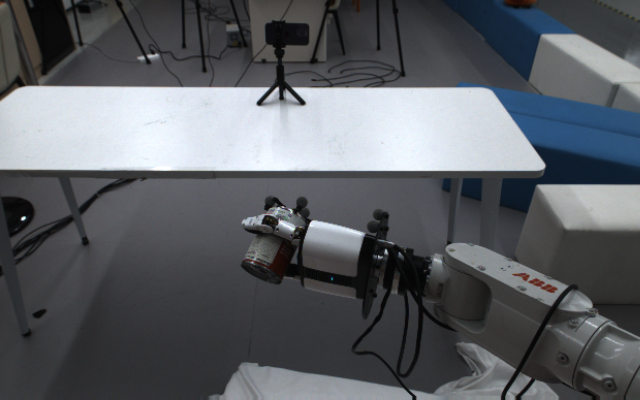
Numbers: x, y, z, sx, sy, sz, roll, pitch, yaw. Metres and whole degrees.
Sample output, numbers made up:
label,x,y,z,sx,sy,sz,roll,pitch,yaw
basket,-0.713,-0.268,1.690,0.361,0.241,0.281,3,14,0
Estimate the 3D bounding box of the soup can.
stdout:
label,x,y,z,sx,sy,sz,roll,pitch,yaw
soup can,-0.068,0.069,0.737,0.067,0.067,0.101,15,63,18
